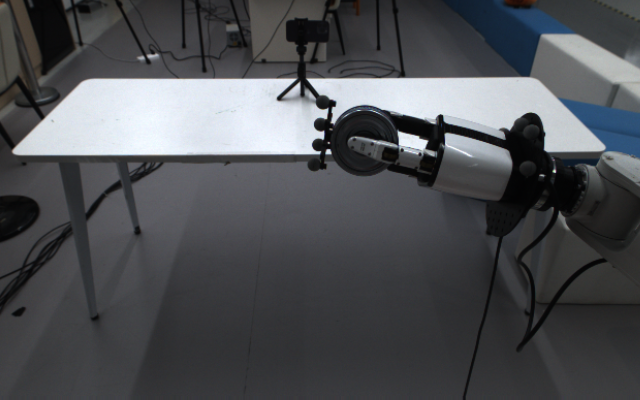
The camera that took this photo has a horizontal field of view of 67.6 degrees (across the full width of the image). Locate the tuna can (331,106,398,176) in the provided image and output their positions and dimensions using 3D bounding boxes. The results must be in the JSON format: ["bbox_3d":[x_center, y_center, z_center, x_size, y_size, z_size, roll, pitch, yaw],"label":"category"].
[{"bbox_3d":[0.059,-0.071,0.605,0.085,0.085,0.034,4,17,3],"label":"tuna can"}]
